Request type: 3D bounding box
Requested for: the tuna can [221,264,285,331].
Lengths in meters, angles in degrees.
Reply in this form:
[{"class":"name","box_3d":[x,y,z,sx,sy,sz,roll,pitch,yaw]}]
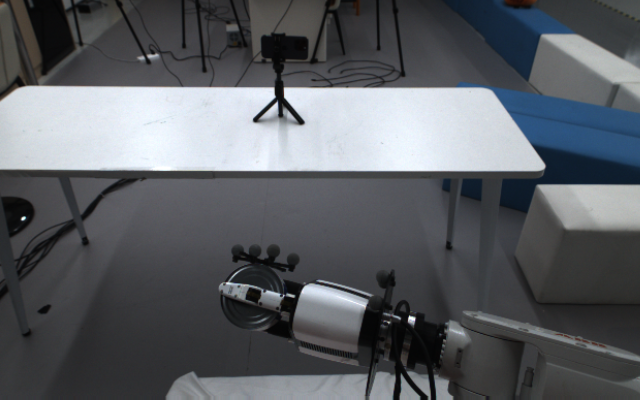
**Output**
[{"class":"tuna can","box_3d":[-0.085,0.128,0.641,0.085,0.034,0.085,-3,69,7]}]
